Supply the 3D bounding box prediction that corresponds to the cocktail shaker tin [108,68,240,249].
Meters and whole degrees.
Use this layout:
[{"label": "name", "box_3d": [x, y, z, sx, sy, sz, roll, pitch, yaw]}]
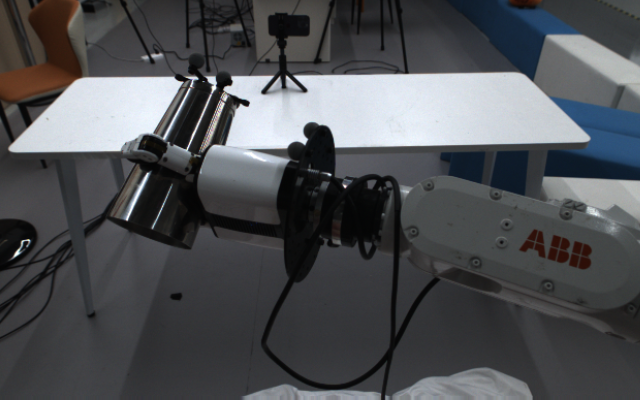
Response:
[{"label": "cocktail shaker tin", "box_3d": [-0.151, -0.040, 0.527, 0.093, 0.093, 0.170, 14, 73, 16]}]
